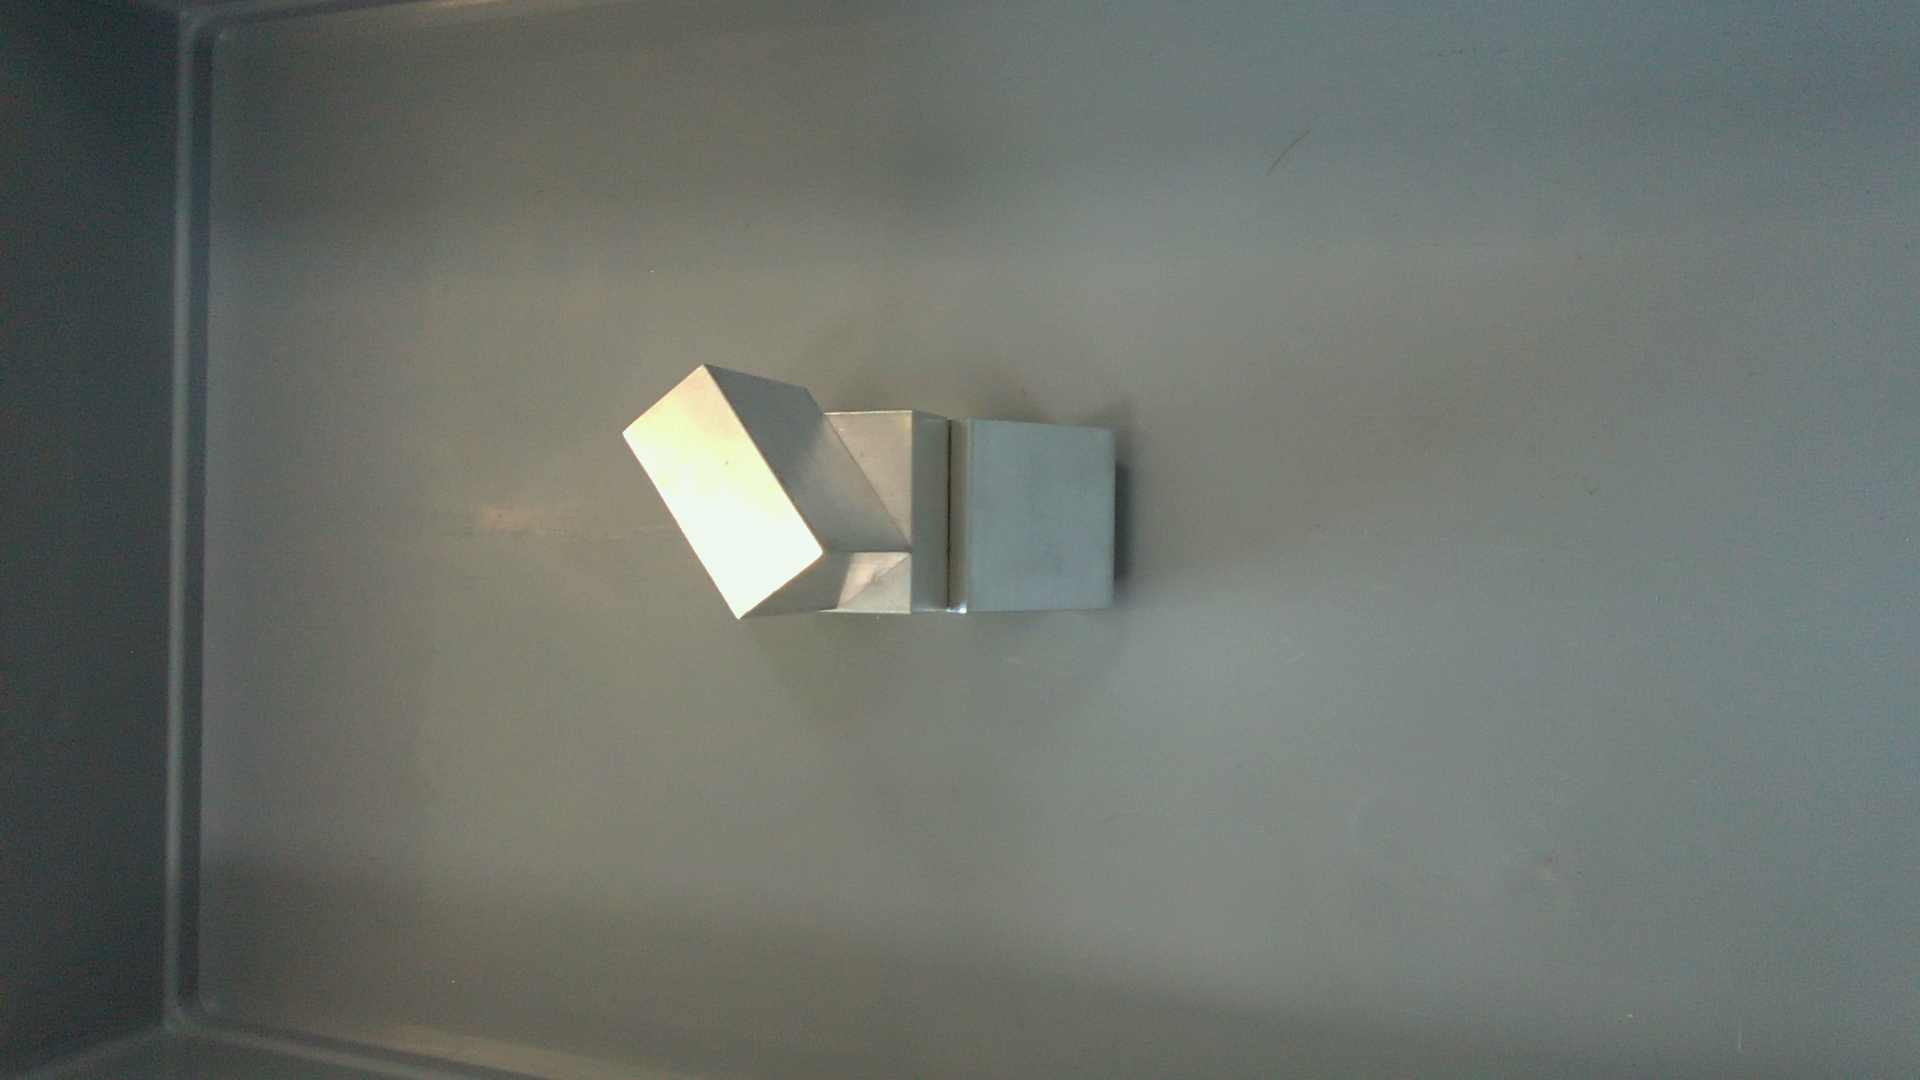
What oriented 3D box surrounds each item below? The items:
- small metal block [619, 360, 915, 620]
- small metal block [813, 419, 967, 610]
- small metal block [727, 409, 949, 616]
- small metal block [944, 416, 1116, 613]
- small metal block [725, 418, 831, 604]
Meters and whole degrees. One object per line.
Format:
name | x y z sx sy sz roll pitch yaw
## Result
small metal block | -0.043 -0.011 0.316 0.025 0.050 0.050 -37 78 17
small metal block | -0.019 -0.007 0.388 0.025 0.050 0.050 1 90 20
small metal block | -0.031 -0.007 0.352 0.050 0.025 0.050 1 90 20
small metal block | 0.015 -0.006 0.373 0.025 0.050 0.050 1 90 54
small metal block | -0.053 -0.008 0.397 0.025 0.050 0.050 0 90 -13
